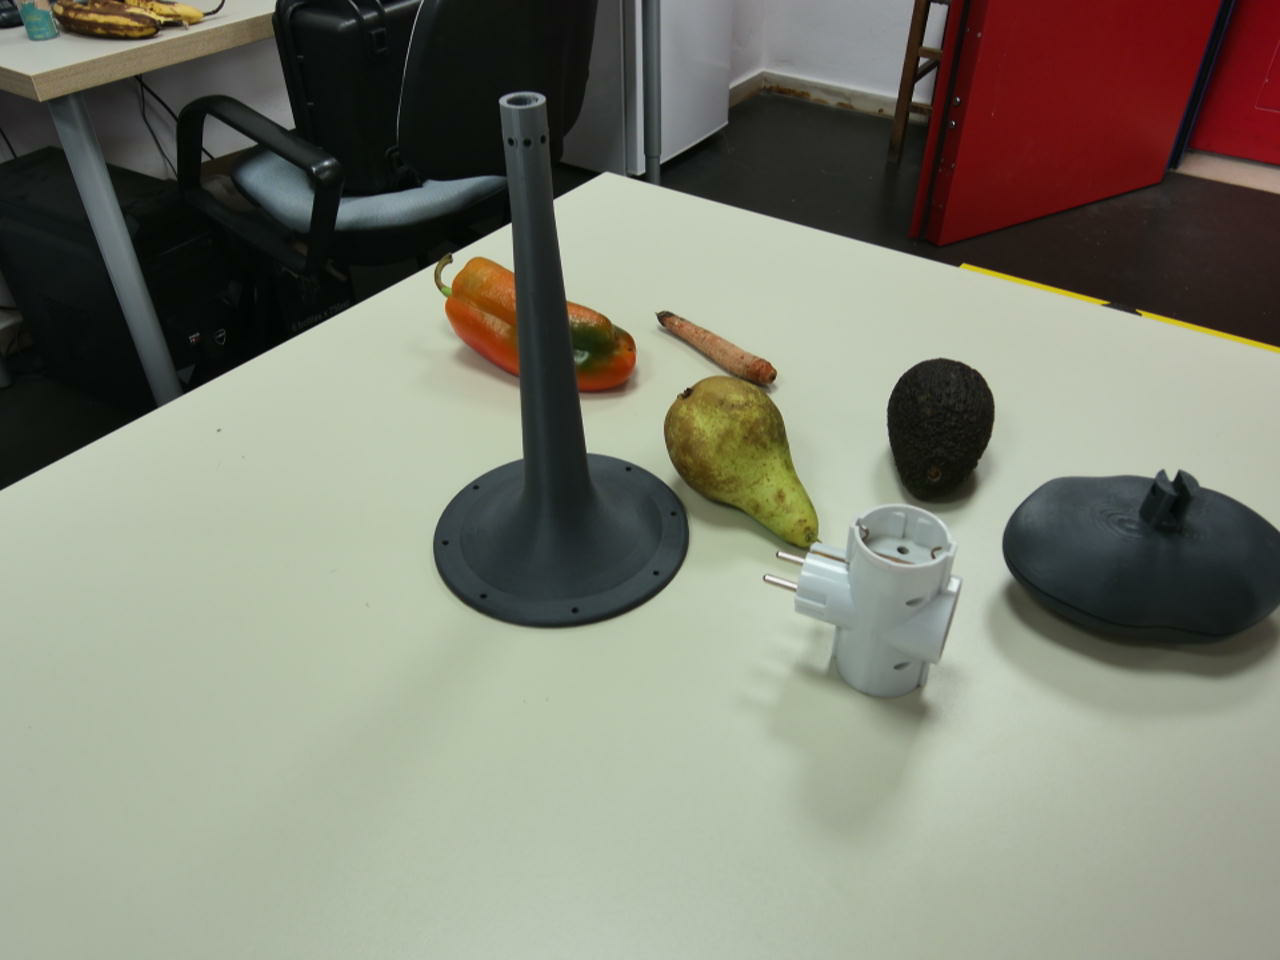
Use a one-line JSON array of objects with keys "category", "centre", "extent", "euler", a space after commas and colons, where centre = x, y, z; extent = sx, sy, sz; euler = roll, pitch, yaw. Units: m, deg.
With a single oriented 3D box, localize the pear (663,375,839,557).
[{"category": "pear", "centre": [0.076, -0.010, 0.585], "extent": [0.144, 0.075, 0.071], "euler": [30, 47, 34]}]
